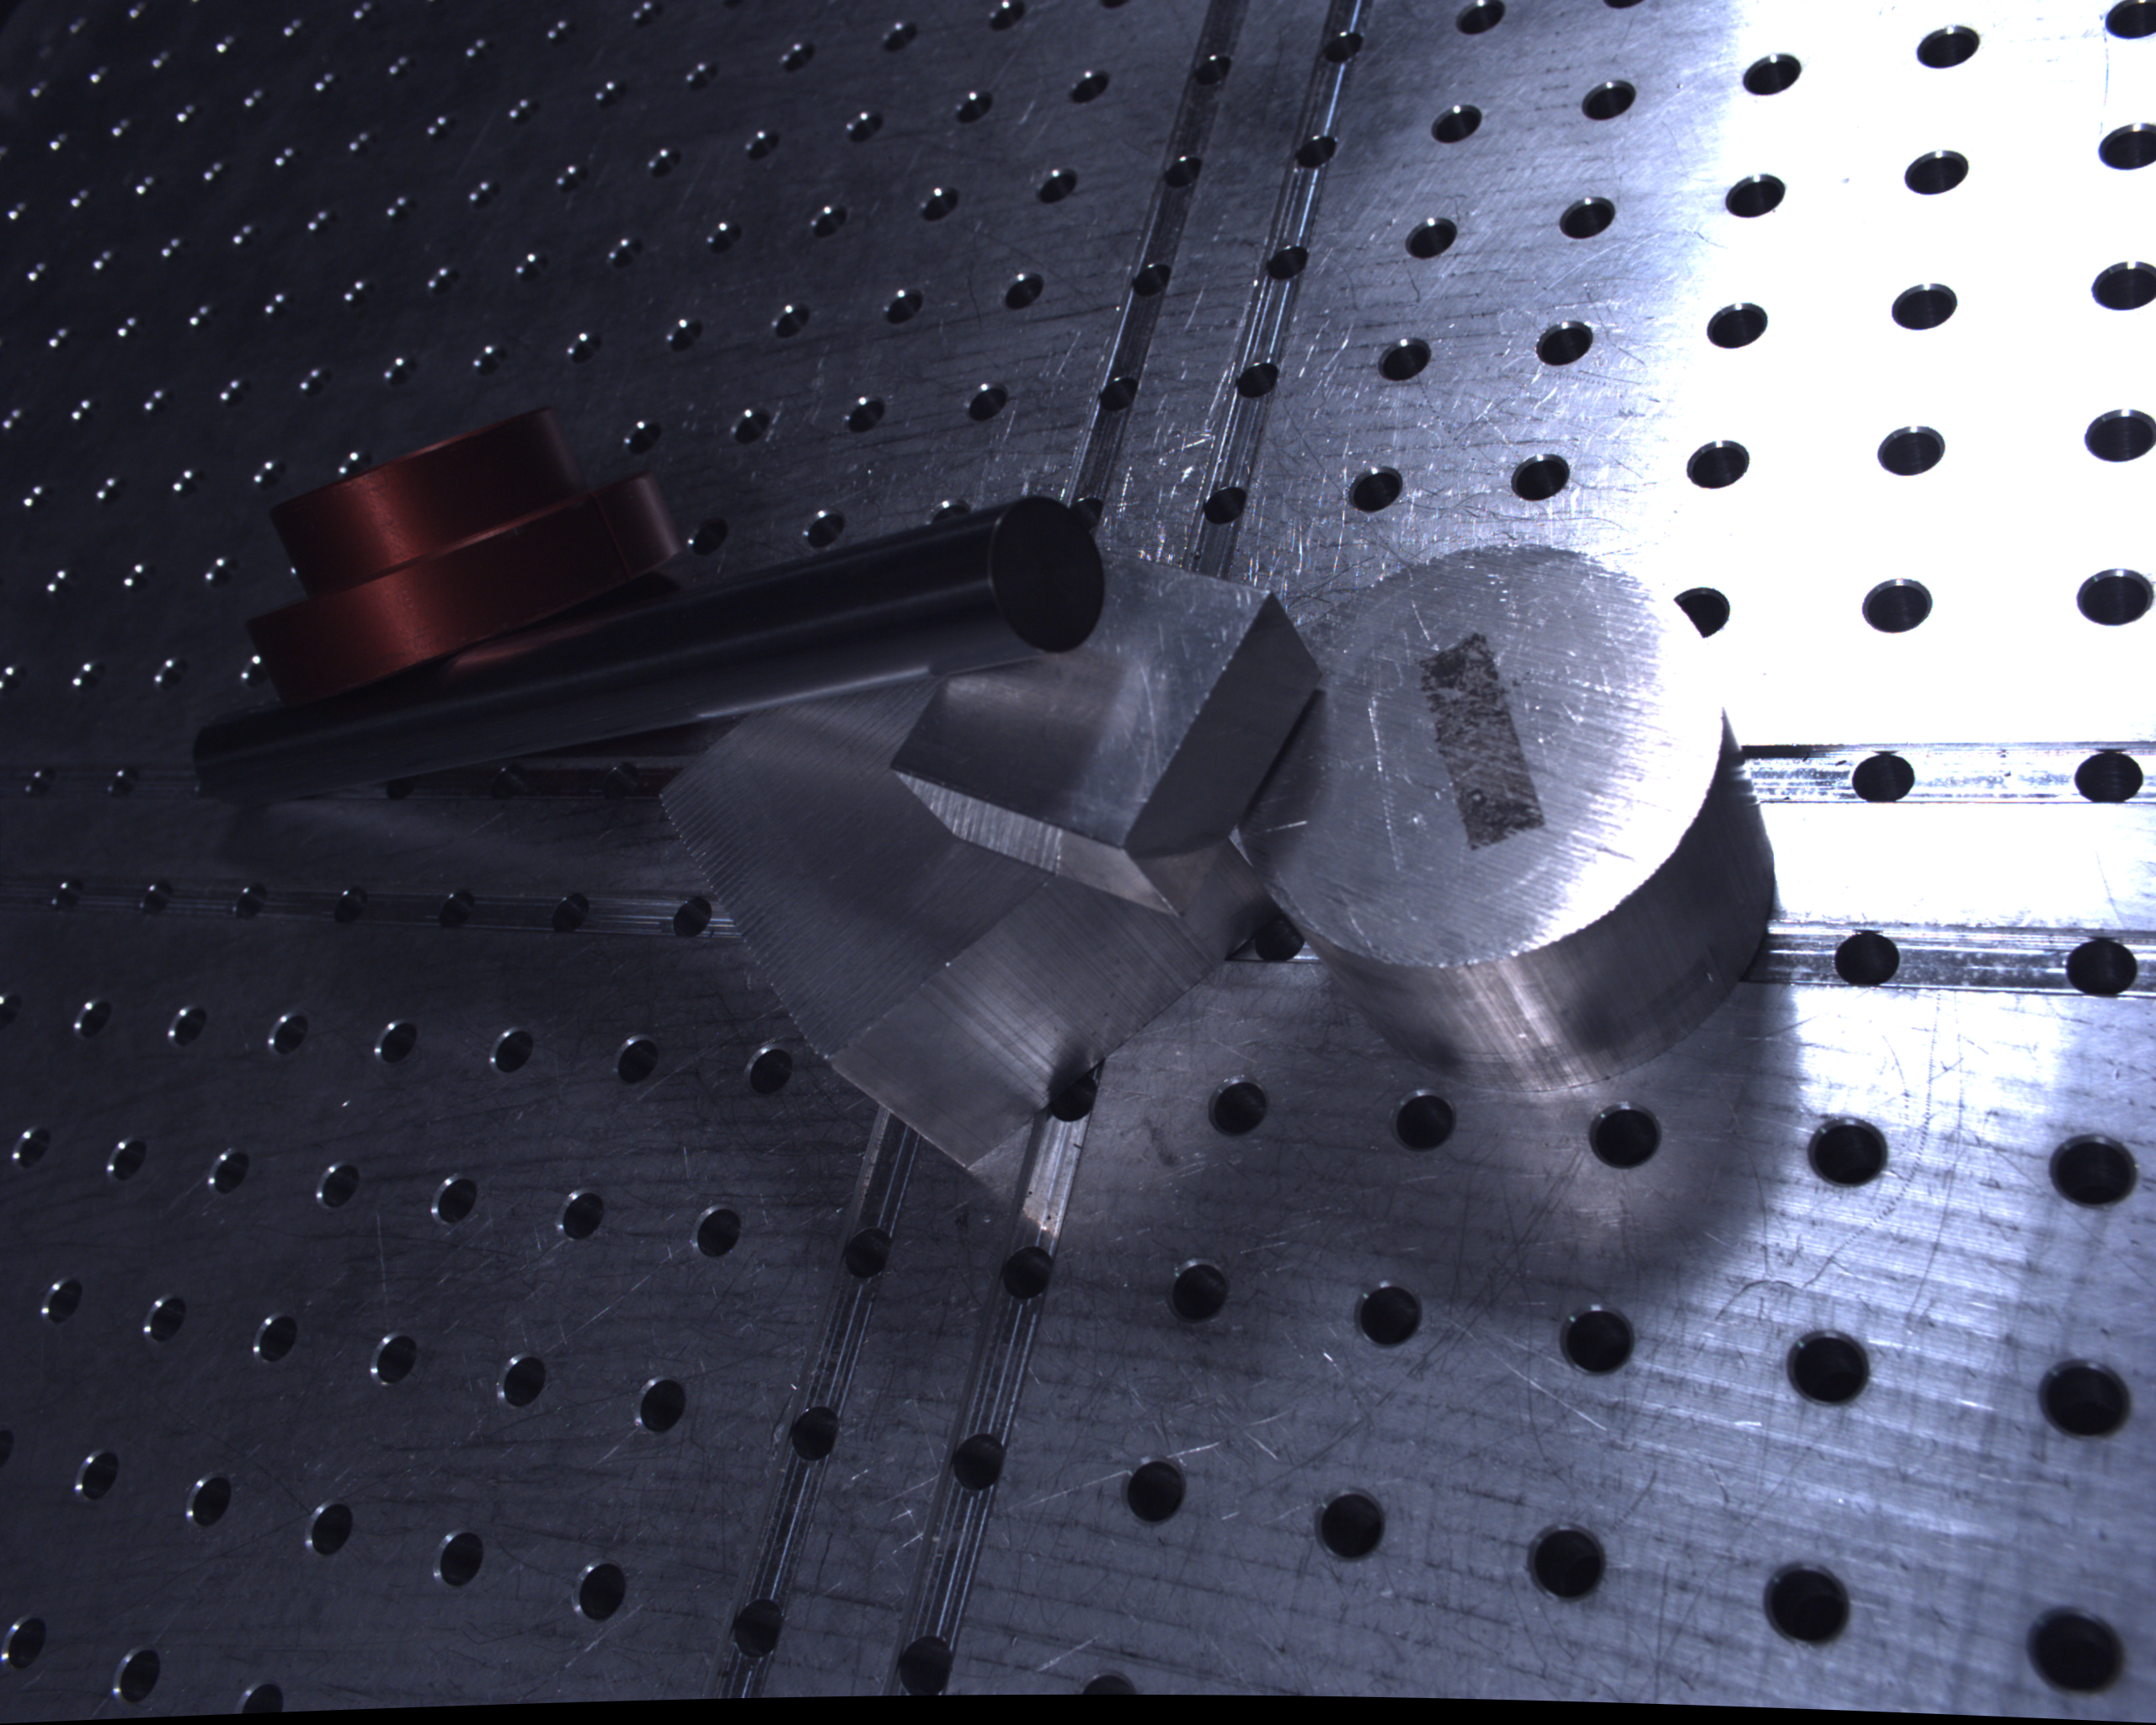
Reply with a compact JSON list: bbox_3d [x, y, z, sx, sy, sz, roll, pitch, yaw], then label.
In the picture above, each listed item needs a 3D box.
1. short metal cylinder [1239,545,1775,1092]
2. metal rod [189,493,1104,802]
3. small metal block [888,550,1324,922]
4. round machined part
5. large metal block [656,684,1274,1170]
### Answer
[{"bbox_3d":[0.074,-0.007,0.357,0.080,0.050,0.080,-13,56,20],"label":"short metal cylinder"},{"bbox_3d":[-0.111,-0.036,0.431,0.300,0.025,0.025,-5,58,45],"label":"metal rod"},{"bbox_3d":[0.005,-0.024,0.352,0.050,0.025,0.050,20,72,35],"label":"small metal block"},{"bbox_3d":[-0.146,-0.075,0.483,0.098,0.042,0.098,-19,15,6],"label":"round machined part"},{"bbox_3d":[-0.021,-0.003,0.401,0.080,0.050,0.080,-39,51,1],"label":"large metal block"}]
